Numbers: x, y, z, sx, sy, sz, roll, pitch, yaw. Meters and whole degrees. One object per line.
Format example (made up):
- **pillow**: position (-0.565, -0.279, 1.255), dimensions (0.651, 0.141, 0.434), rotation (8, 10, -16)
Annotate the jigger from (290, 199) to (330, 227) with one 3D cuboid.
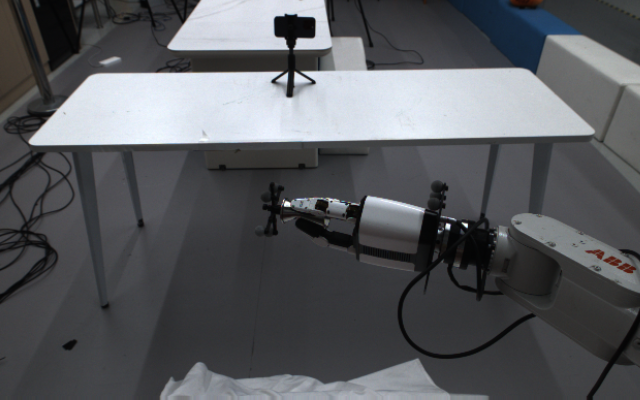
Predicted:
- **jigger**: position (-0.015, 0.015, 0.725), dimensions (0.071, 0.043, 0.043), rotation (5, 35, 13)
